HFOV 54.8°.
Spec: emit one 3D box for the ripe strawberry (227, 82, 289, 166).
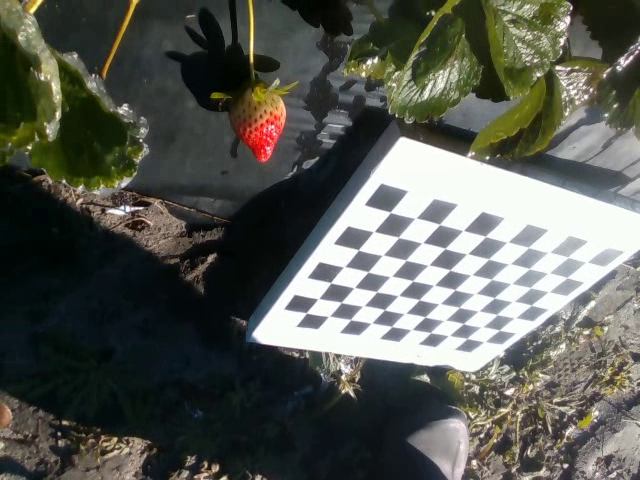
[{"bbox_3d":[-0.035,-0.069,0.369,0.039,0.053,0.041,-3,34,-9],"label":"ripe strawberry"}]
